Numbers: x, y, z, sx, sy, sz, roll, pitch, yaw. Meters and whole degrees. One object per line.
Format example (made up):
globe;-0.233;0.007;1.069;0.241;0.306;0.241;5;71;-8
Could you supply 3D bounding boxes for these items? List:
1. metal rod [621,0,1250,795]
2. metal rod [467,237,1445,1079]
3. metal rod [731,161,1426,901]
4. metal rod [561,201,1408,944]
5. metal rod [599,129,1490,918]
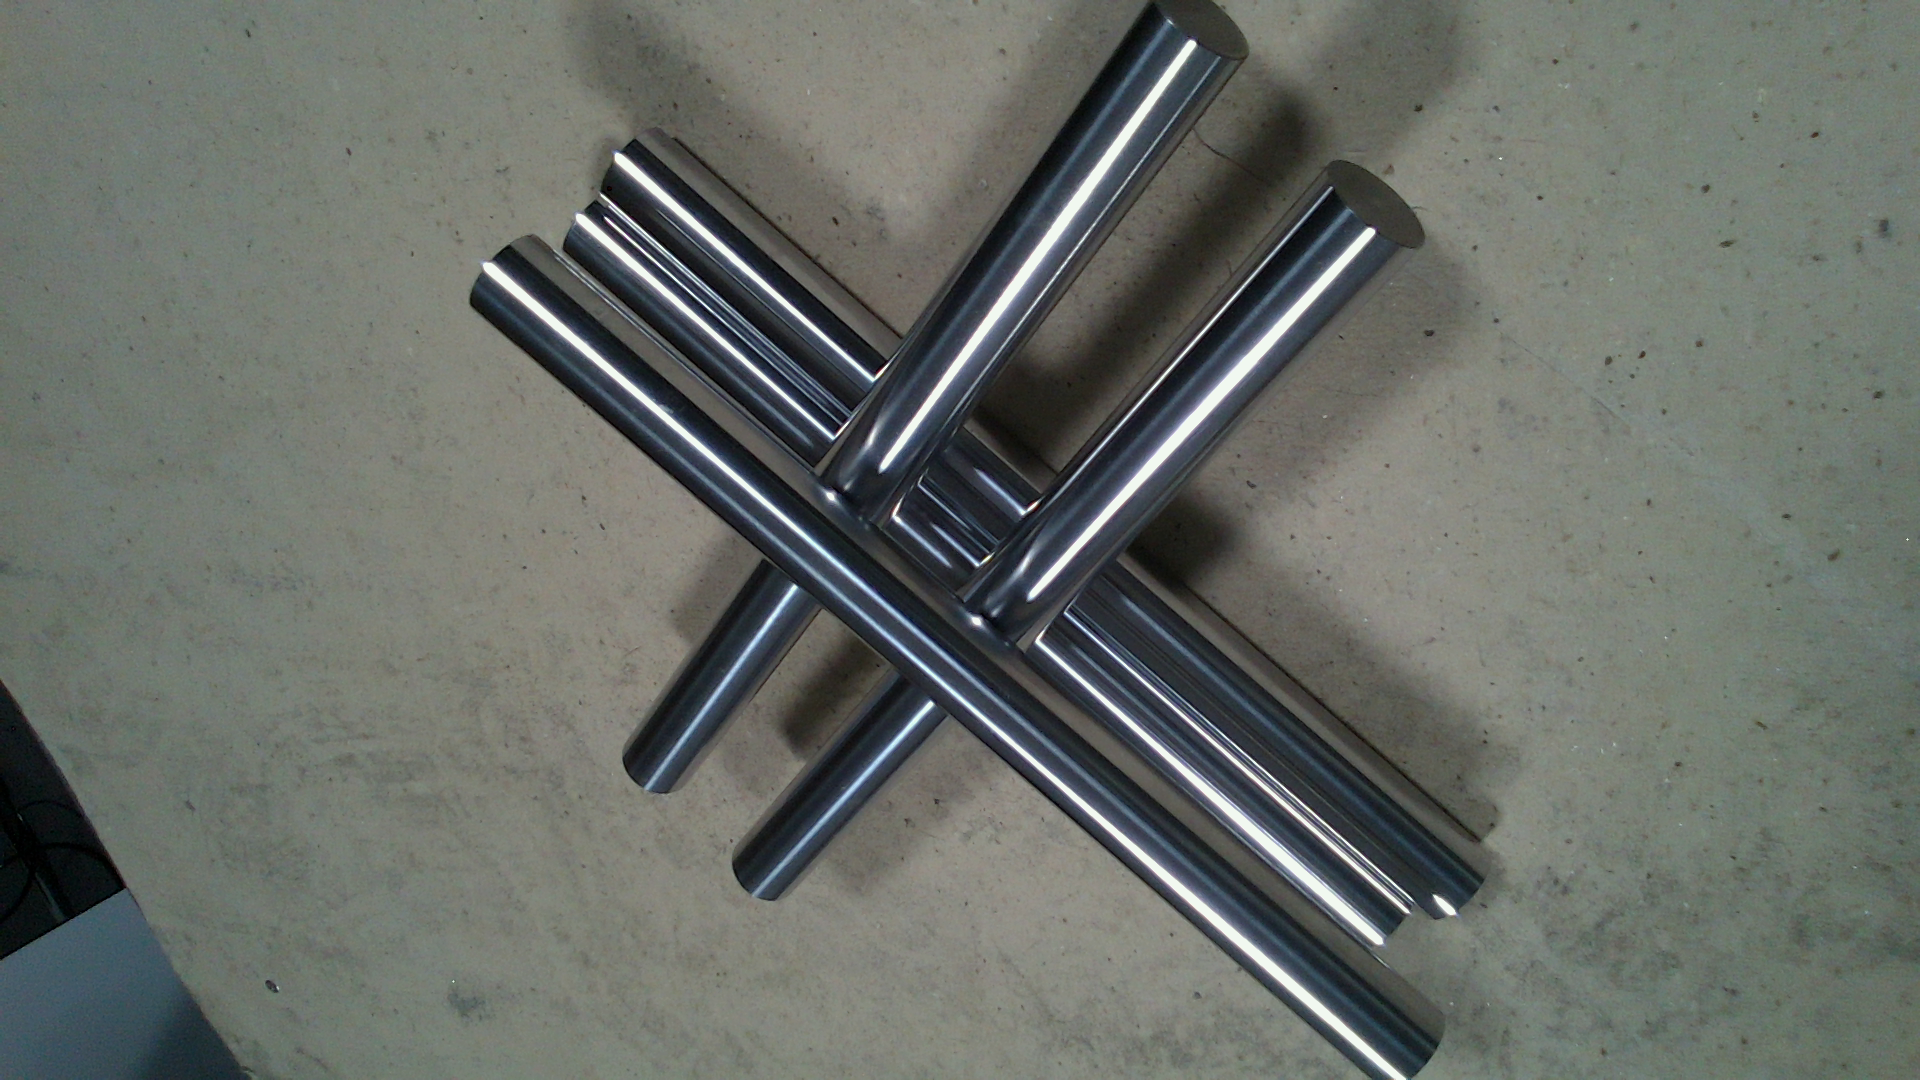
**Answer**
metal rod;-0.027;-0.014;0.366;0.025;0.025;0.299;41;129;1
metal rod;-0.001;0.030;0.347;0.300;0.025;0.025;40;129;0
metal rod;0.009;0.022;0.369;0.025;0.025;0.299;41;129;1
metal rod;0.008;0.008;0.394;0.300;0.025;0.025;41;129;0
metal rod;0.023;-0.004;0.378;0.300;0.025;0.025;41;129;0
